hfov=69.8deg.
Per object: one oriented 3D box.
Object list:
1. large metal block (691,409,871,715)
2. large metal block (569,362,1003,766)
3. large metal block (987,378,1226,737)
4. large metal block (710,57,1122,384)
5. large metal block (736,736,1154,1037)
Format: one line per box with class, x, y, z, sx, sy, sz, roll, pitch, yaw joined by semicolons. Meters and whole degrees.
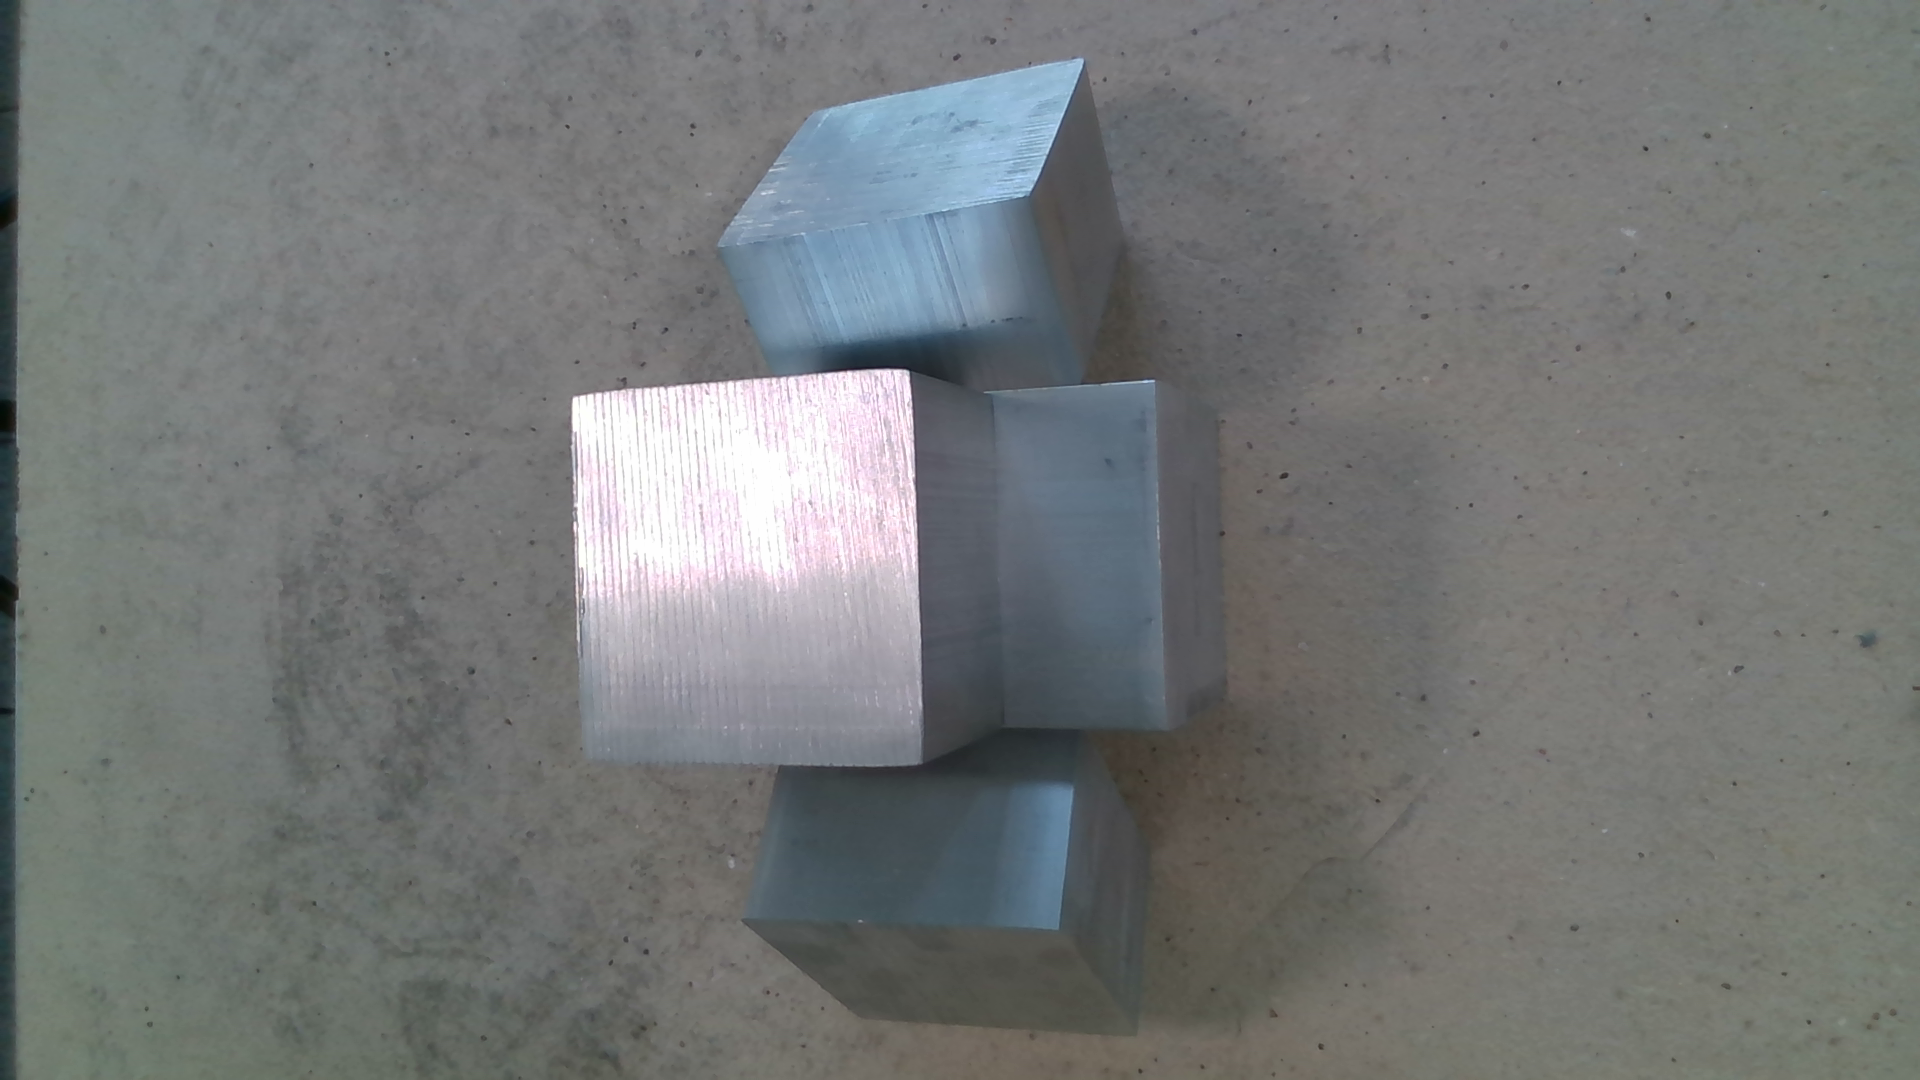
large metal block;-0.051;0.008;0.385;0.050;0.080;0.080;-4;88;20
large metal block;-0.038;0.006;0.309;0.080;0.050;0.080;-2;89;20
large metal block;0.035;0.004;0.352;0.050;0.080;0.080;-2;90;20
large metal block;-0.007;-0.079;0.360;0.080;0.080;0.050;-4;129;20
large metal block;0.001;0.089;0.357;0.080;0.080;0.050;-4;54;20
